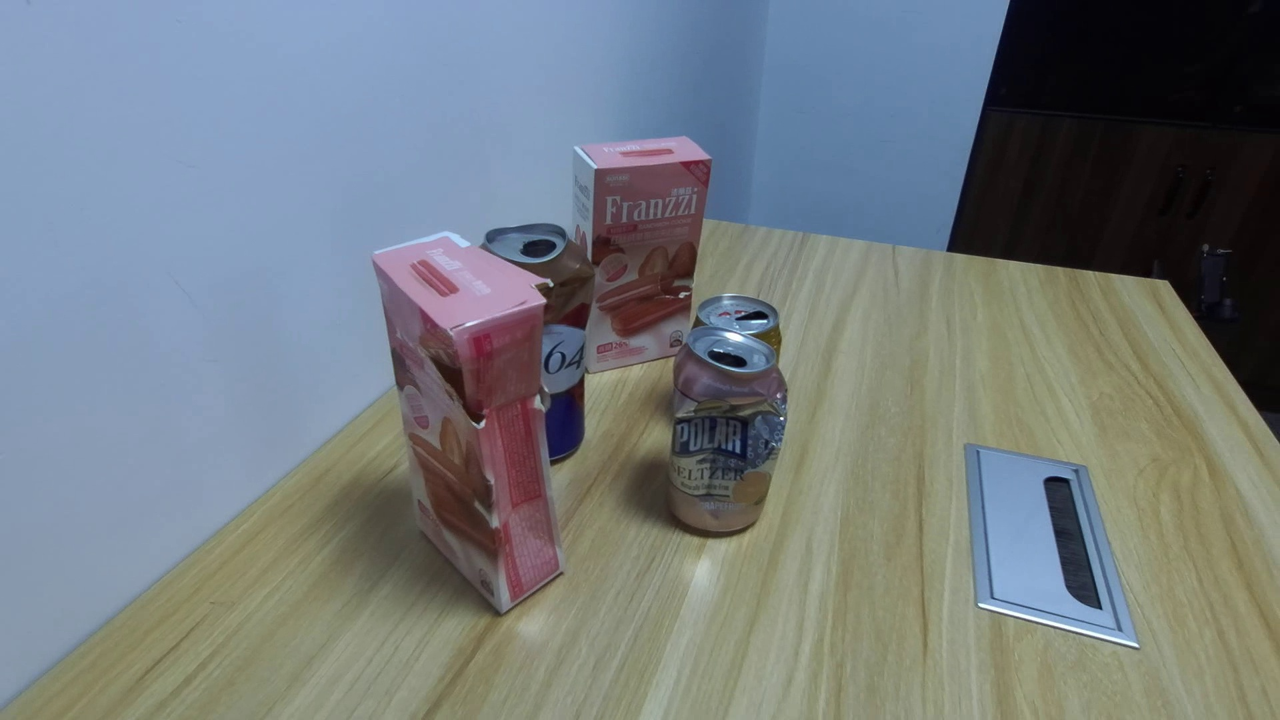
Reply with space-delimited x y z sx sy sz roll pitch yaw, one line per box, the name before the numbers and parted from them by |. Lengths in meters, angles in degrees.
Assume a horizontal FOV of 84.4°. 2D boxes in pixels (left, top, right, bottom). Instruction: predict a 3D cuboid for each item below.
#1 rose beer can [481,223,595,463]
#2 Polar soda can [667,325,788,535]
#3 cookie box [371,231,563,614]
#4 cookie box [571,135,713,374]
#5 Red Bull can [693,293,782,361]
rose beer can | -0.072 -0.010 0.483 0.068 0.162 0.074 21 40 28
Polar soda can | 0.054 0.044 0.439 0.071 0.122 0.066 6 27 8
cookie box | -0.088 0.036 0.383 0.059 0.186 0.104 -24 40 -33
cookie box | 0.002 -0.082 0.580 0.105 0.187 0.048 -11 40 -20
Red Bull can | 0.067 0.005 0.521 0.069 0.092 0.069 3 30 -1
